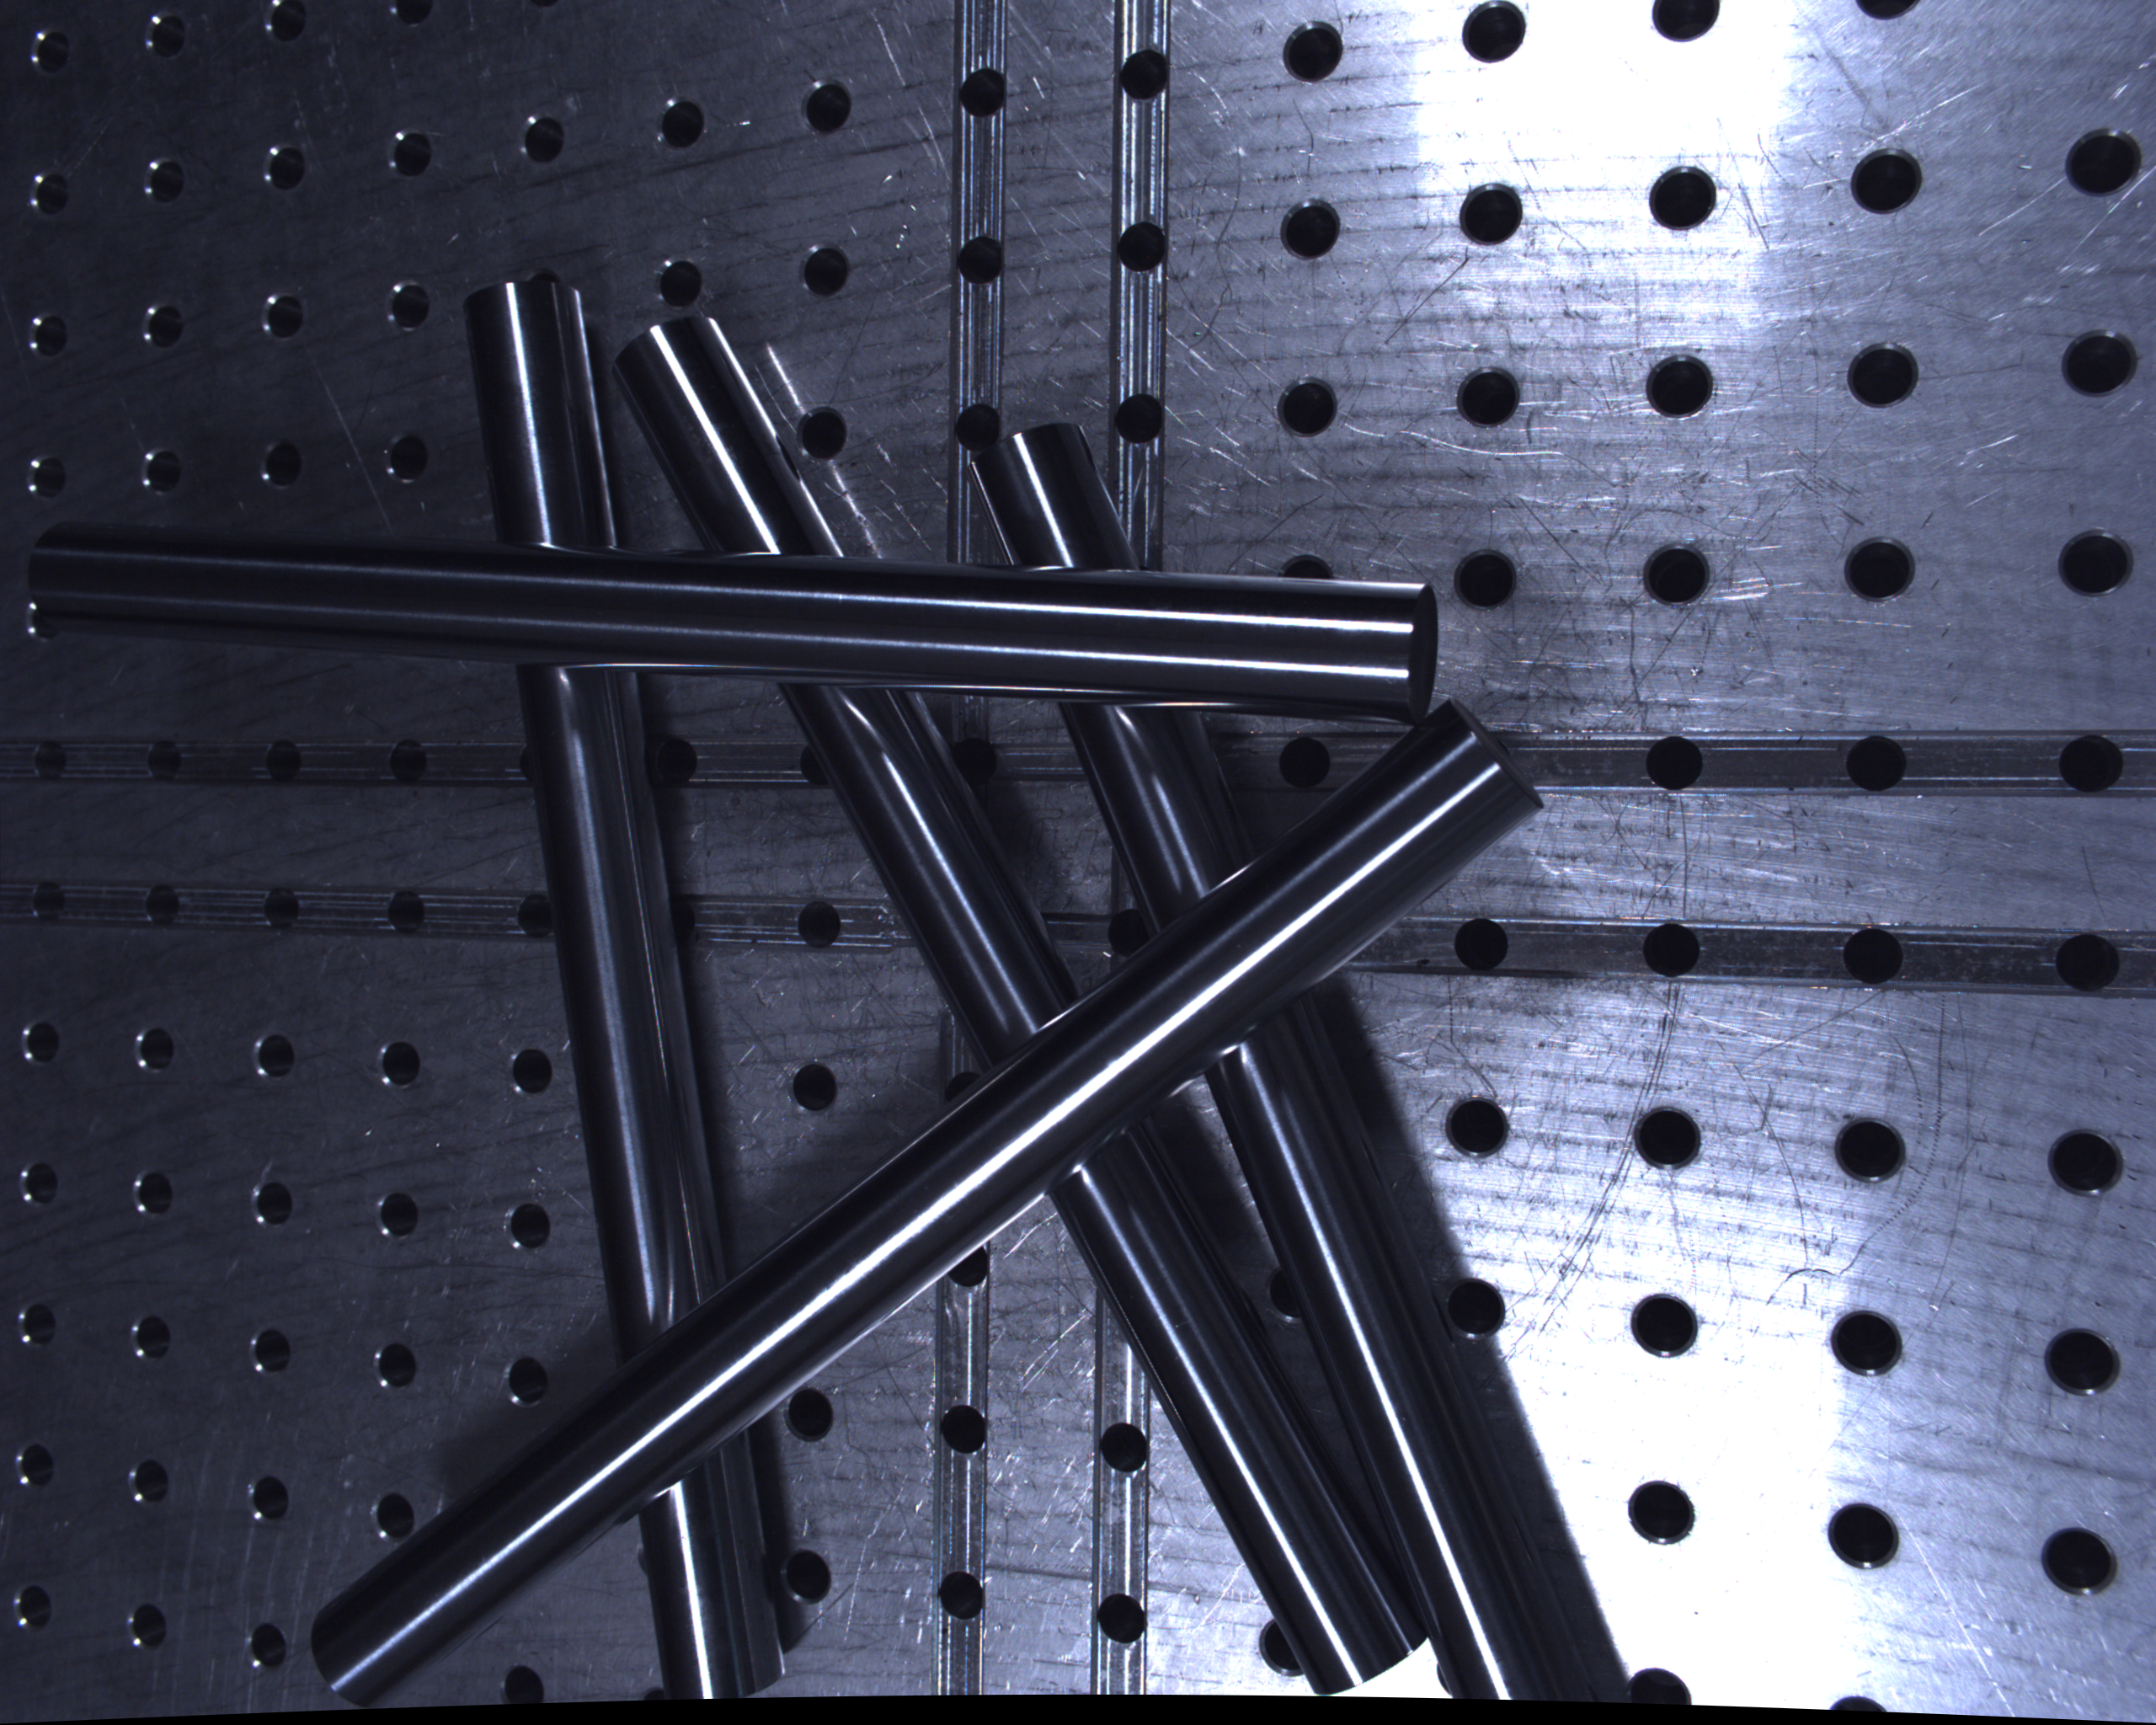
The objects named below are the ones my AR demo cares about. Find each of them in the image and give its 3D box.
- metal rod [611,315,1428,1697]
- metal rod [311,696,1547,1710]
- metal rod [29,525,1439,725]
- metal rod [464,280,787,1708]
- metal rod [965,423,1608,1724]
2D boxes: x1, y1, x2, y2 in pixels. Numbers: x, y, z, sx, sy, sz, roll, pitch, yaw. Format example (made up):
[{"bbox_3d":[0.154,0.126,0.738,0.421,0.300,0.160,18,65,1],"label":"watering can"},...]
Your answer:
[{"bbox_3d":[-0.016,0.021,0.417,0.025,0.025,0.299,-32,80,17],"label":"metal rod"},{"bbox_3d":[-0.039,0.073,0.398,0.300,0.025,0.025,-40,78,15],"label":"metal rod"},{"bbox_3d":[-0.081,-0.049,0.413,0.301,0.025,0.025,5,92,19],"label":"metal rod"},{"bbox_3d":[-0.097,0.025,0.445,0.025,0.025,0.298,-10,87,19],"label":"metal rod"},{"bbox_3d":[0.044,0.056,0.396,0.025,0.025,0.299,-24,82,18],"label":"metal rod"}]
